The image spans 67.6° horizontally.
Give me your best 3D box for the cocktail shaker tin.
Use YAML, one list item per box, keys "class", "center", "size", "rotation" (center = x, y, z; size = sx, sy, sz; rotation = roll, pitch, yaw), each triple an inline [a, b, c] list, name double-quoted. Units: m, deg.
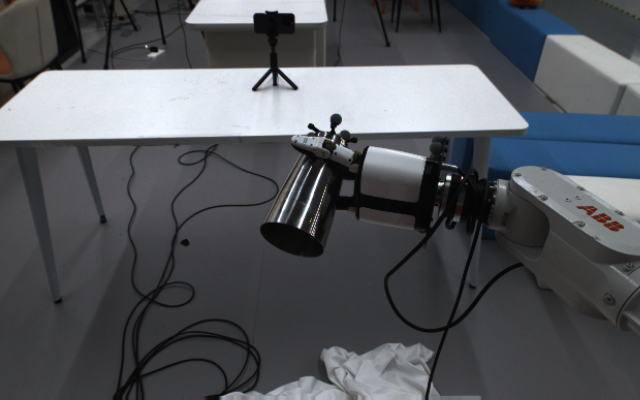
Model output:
- class: "cocktail shaker tin"
  center: [-0.012, -0.017, 0.695]
  size: [0.093, 0.093, 0.170]
  rotation: [13, 59, 16]
